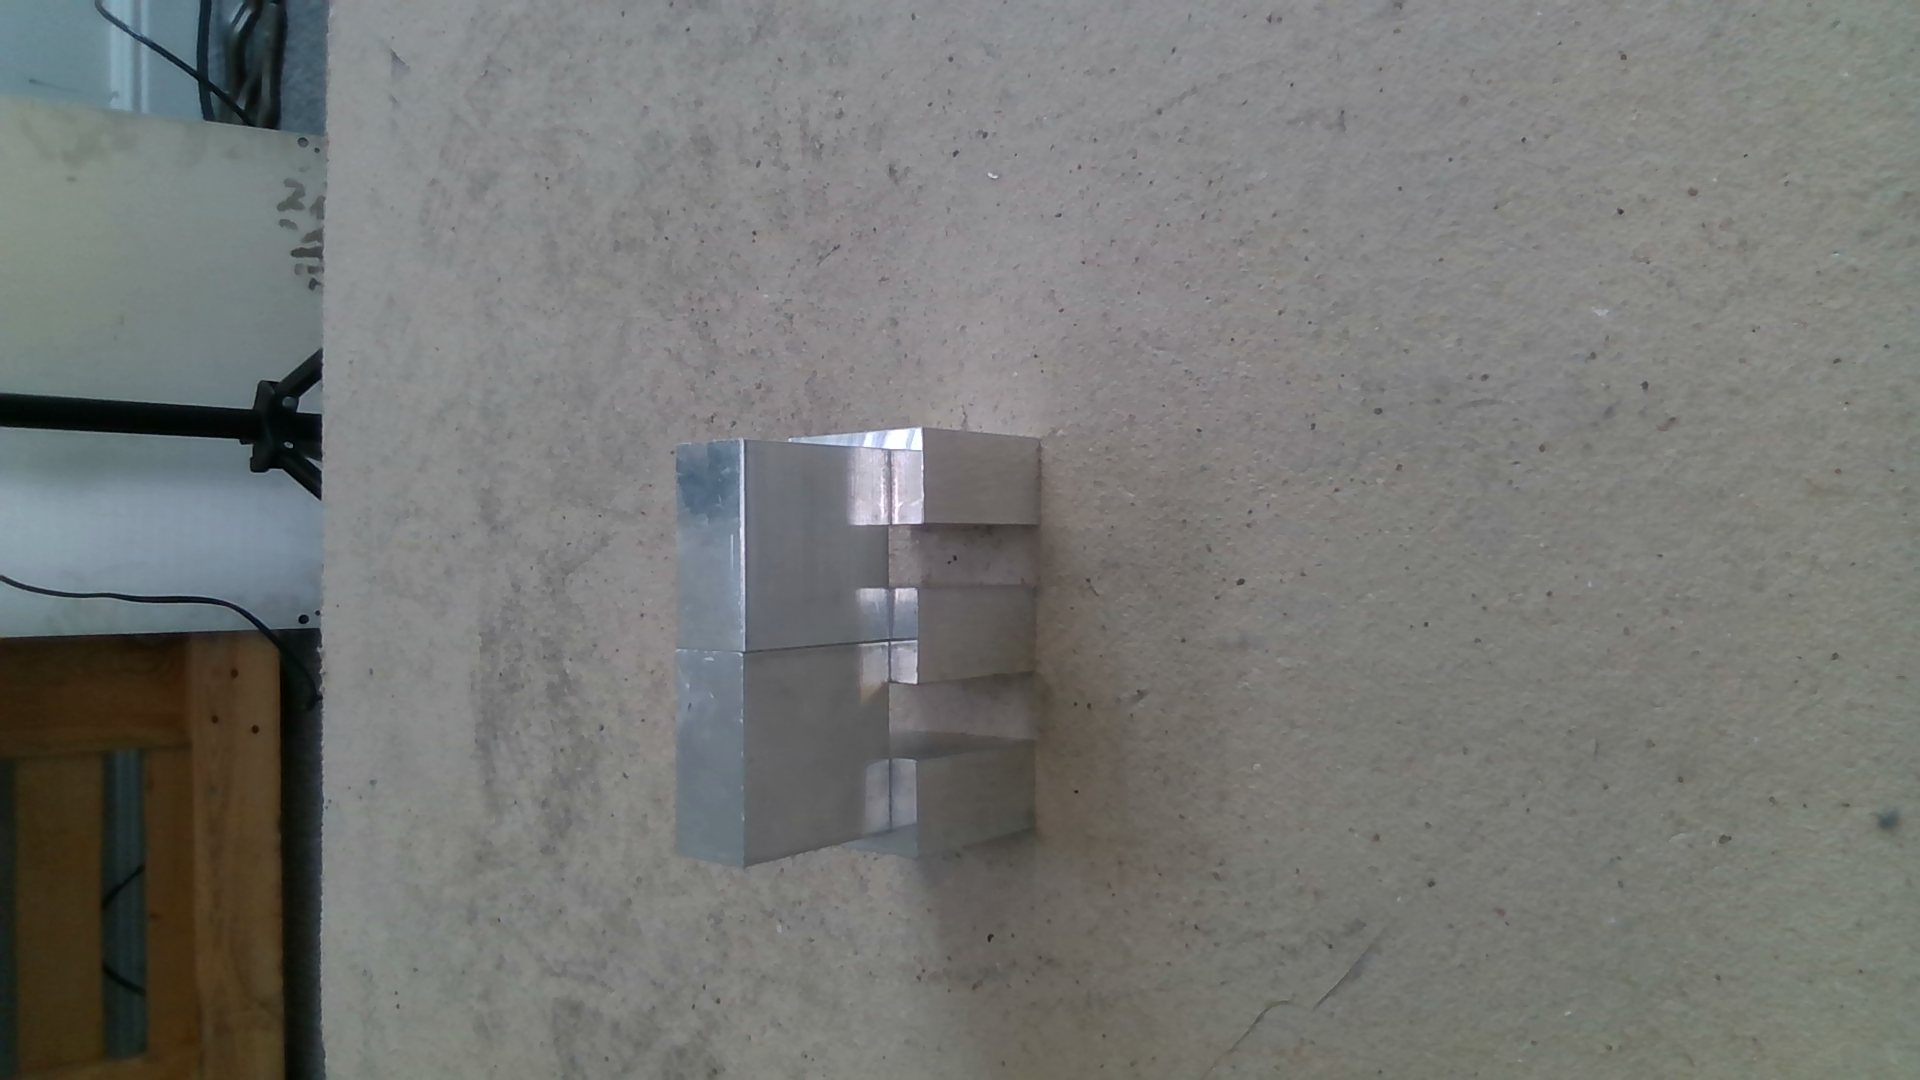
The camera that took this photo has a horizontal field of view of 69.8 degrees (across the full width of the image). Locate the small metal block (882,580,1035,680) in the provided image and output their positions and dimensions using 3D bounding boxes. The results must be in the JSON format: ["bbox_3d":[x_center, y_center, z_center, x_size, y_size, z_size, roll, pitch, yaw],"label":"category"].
[{"bbox_3d":[-0.014,0.024,0.387,0.050,0.050,0.025,-2,88,40],"label":"small metal block"}]

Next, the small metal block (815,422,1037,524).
[{"bbox_3d":[-0.014,-0.017,0.385,0.050,0.050,0.025,-1,89,40],"label":"small metal block"}]

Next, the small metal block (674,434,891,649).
[{"bbox_3d":[-0.044,0.000,0.347,0.025,0.050,0.050,0,90,40],"label":"small metal block"}]

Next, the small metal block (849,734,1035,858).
[{"bbox_3d":[-0.014,0.070,0.388,0.050,0.050,0.025,-2,88,40],"label":"small metal block"}]

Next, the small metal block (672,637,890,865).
[{"bbox_3d":[-0.044,0.051,0.347,0.025,0.050,0.050,0,90,40],"label":"small metal block"}]
